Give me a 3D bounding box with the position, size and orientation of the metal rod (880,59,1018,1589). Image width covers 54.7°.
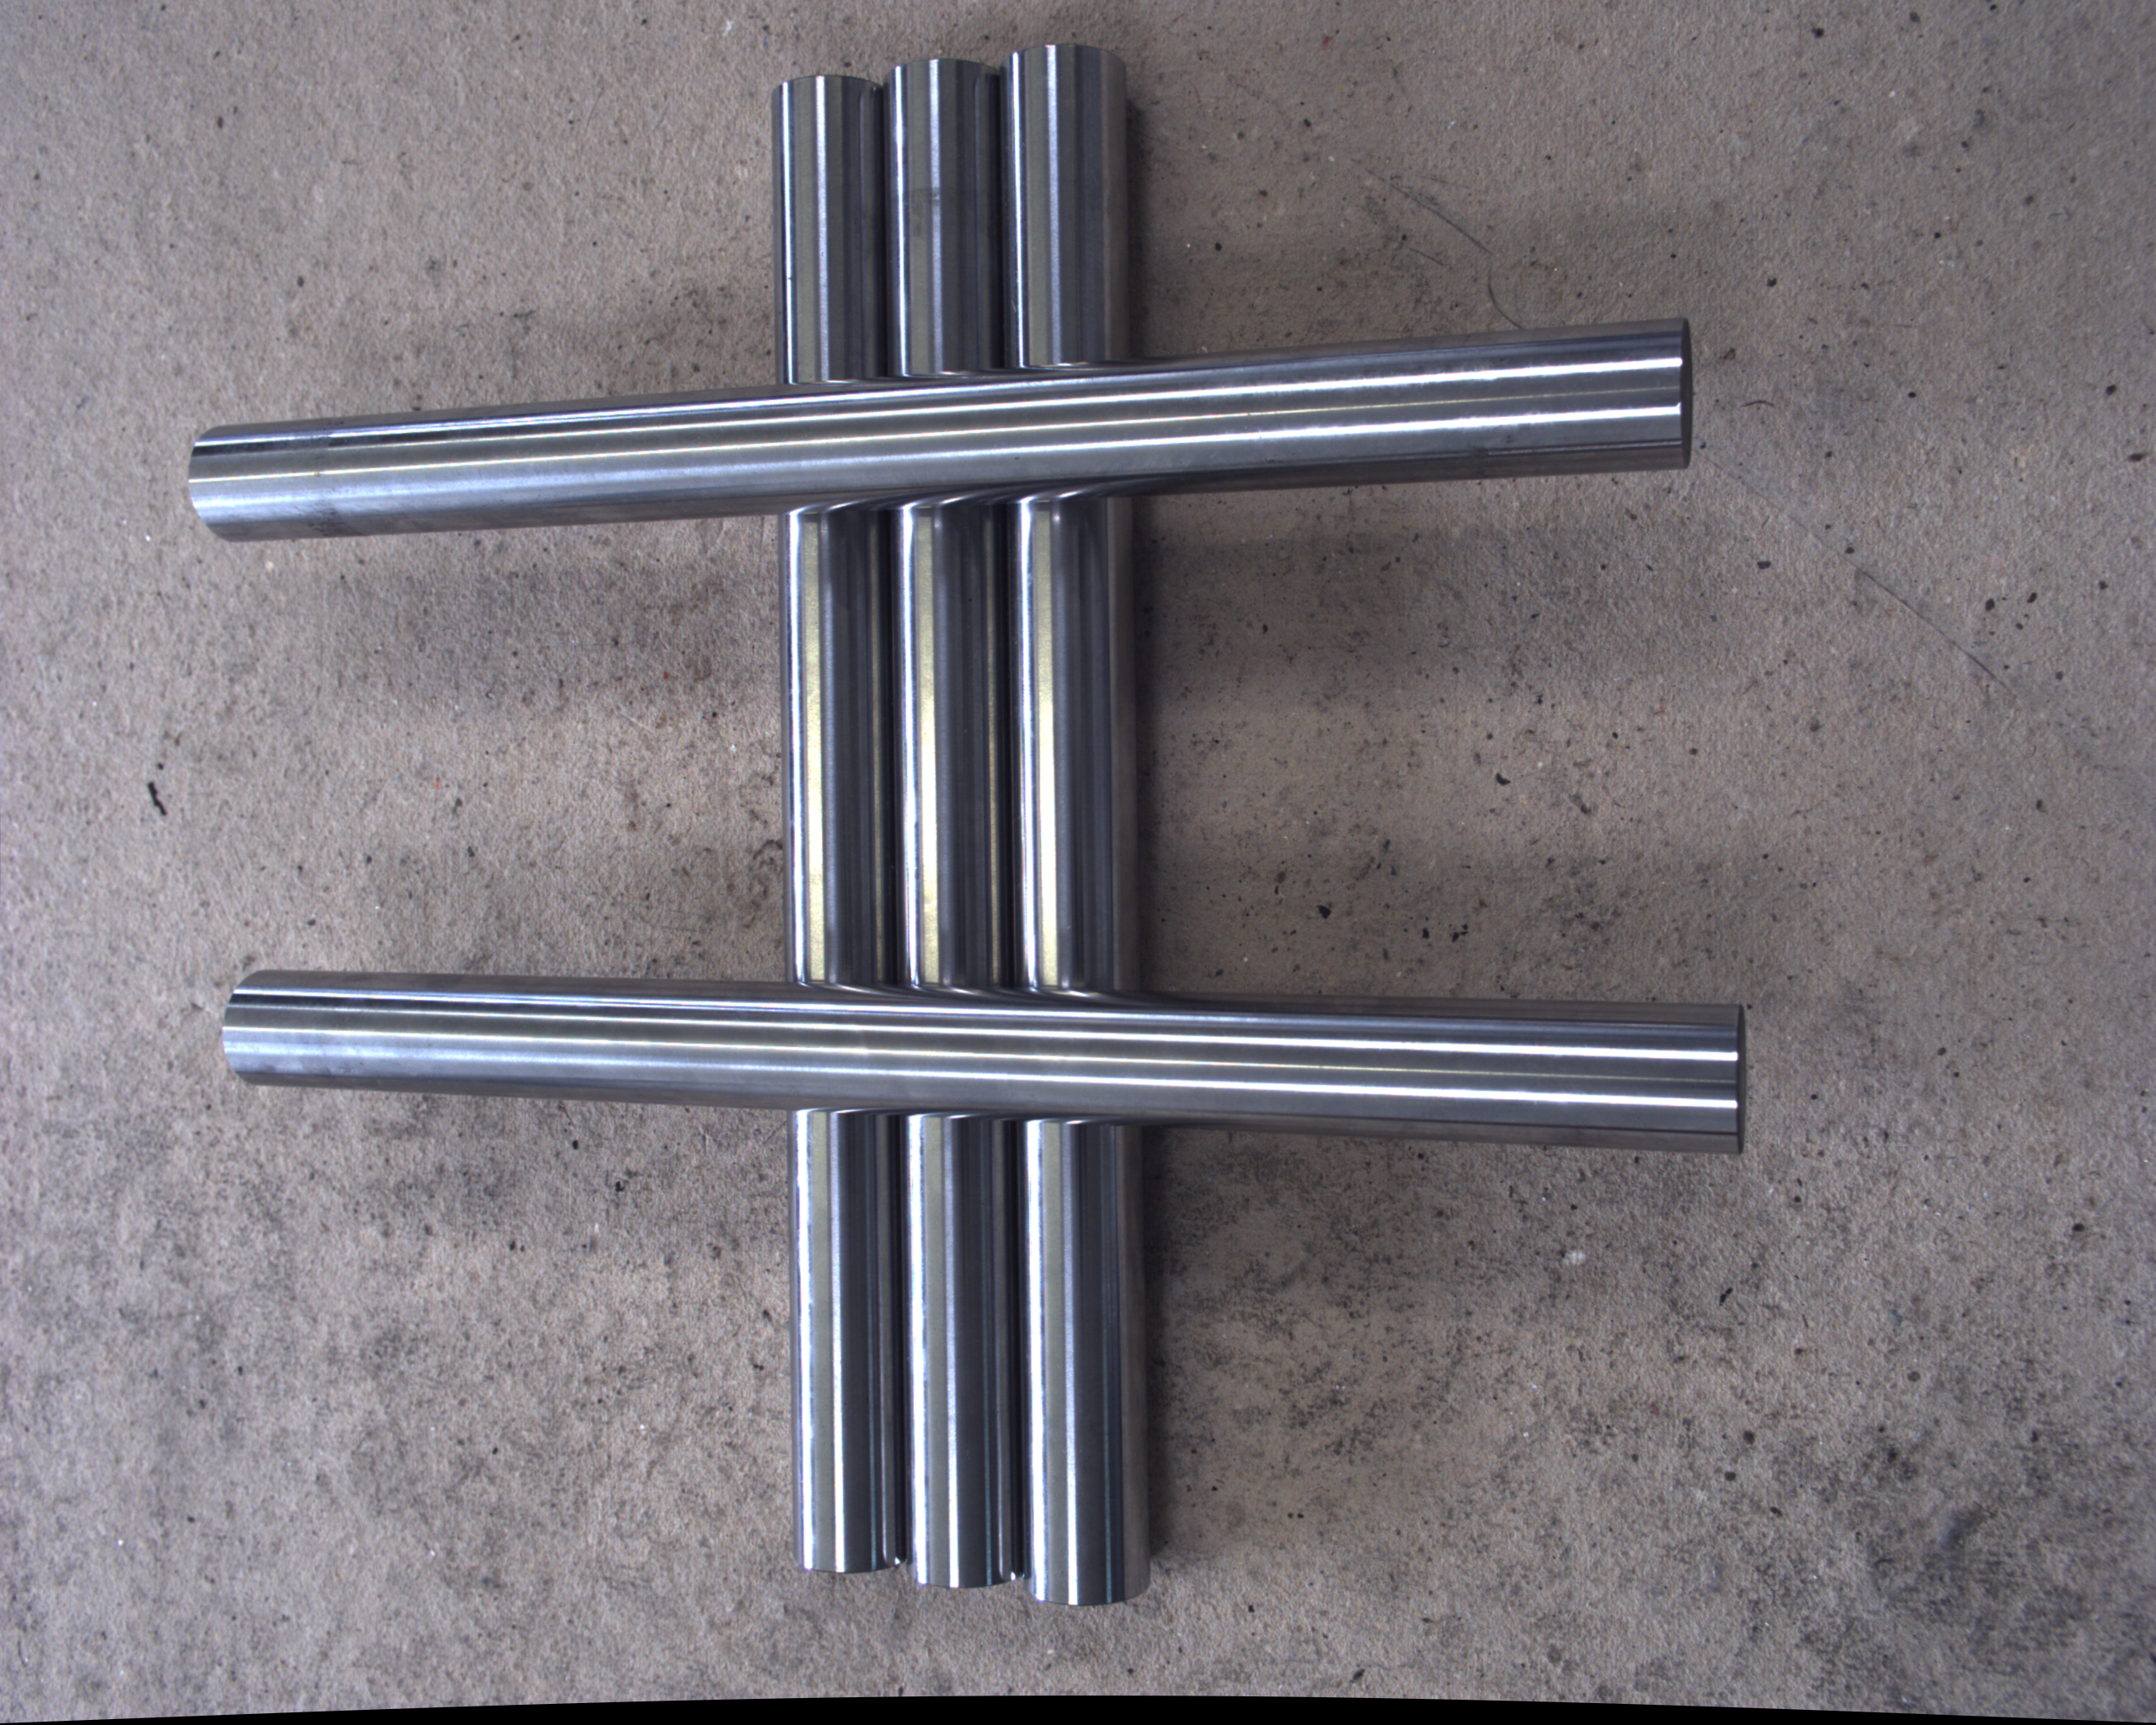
[{"bbox_3d":[-0.025,-0.008,0.419,0.025,0.025,0.298,-1,90,20],"label":"metal rod"}]

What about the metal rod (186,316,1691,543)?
[{"bbox_3d":[-0.040,-0.080,0.398,0.301,0.025,0.025,1,90,19],"label":"metal rod"}]

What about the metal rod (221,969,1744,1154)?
[{"bbox_3d":[-0.032,0.035,0.395,0.301,0.025,0.025,0,90,19],"label":"metal rod"}]

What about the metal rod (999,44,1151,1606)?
[{"bbox_3d":[-0.001,-0.007,0.410,0.025,0.025,0.298,-1,90,20],"label":"metal rod"}]

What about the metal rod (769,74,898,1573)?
[{"bbox_3d":[-0.048,-0.008,0.427,0.025,0.025,0.298,-1,90,20],"label":"metal rod"}]
